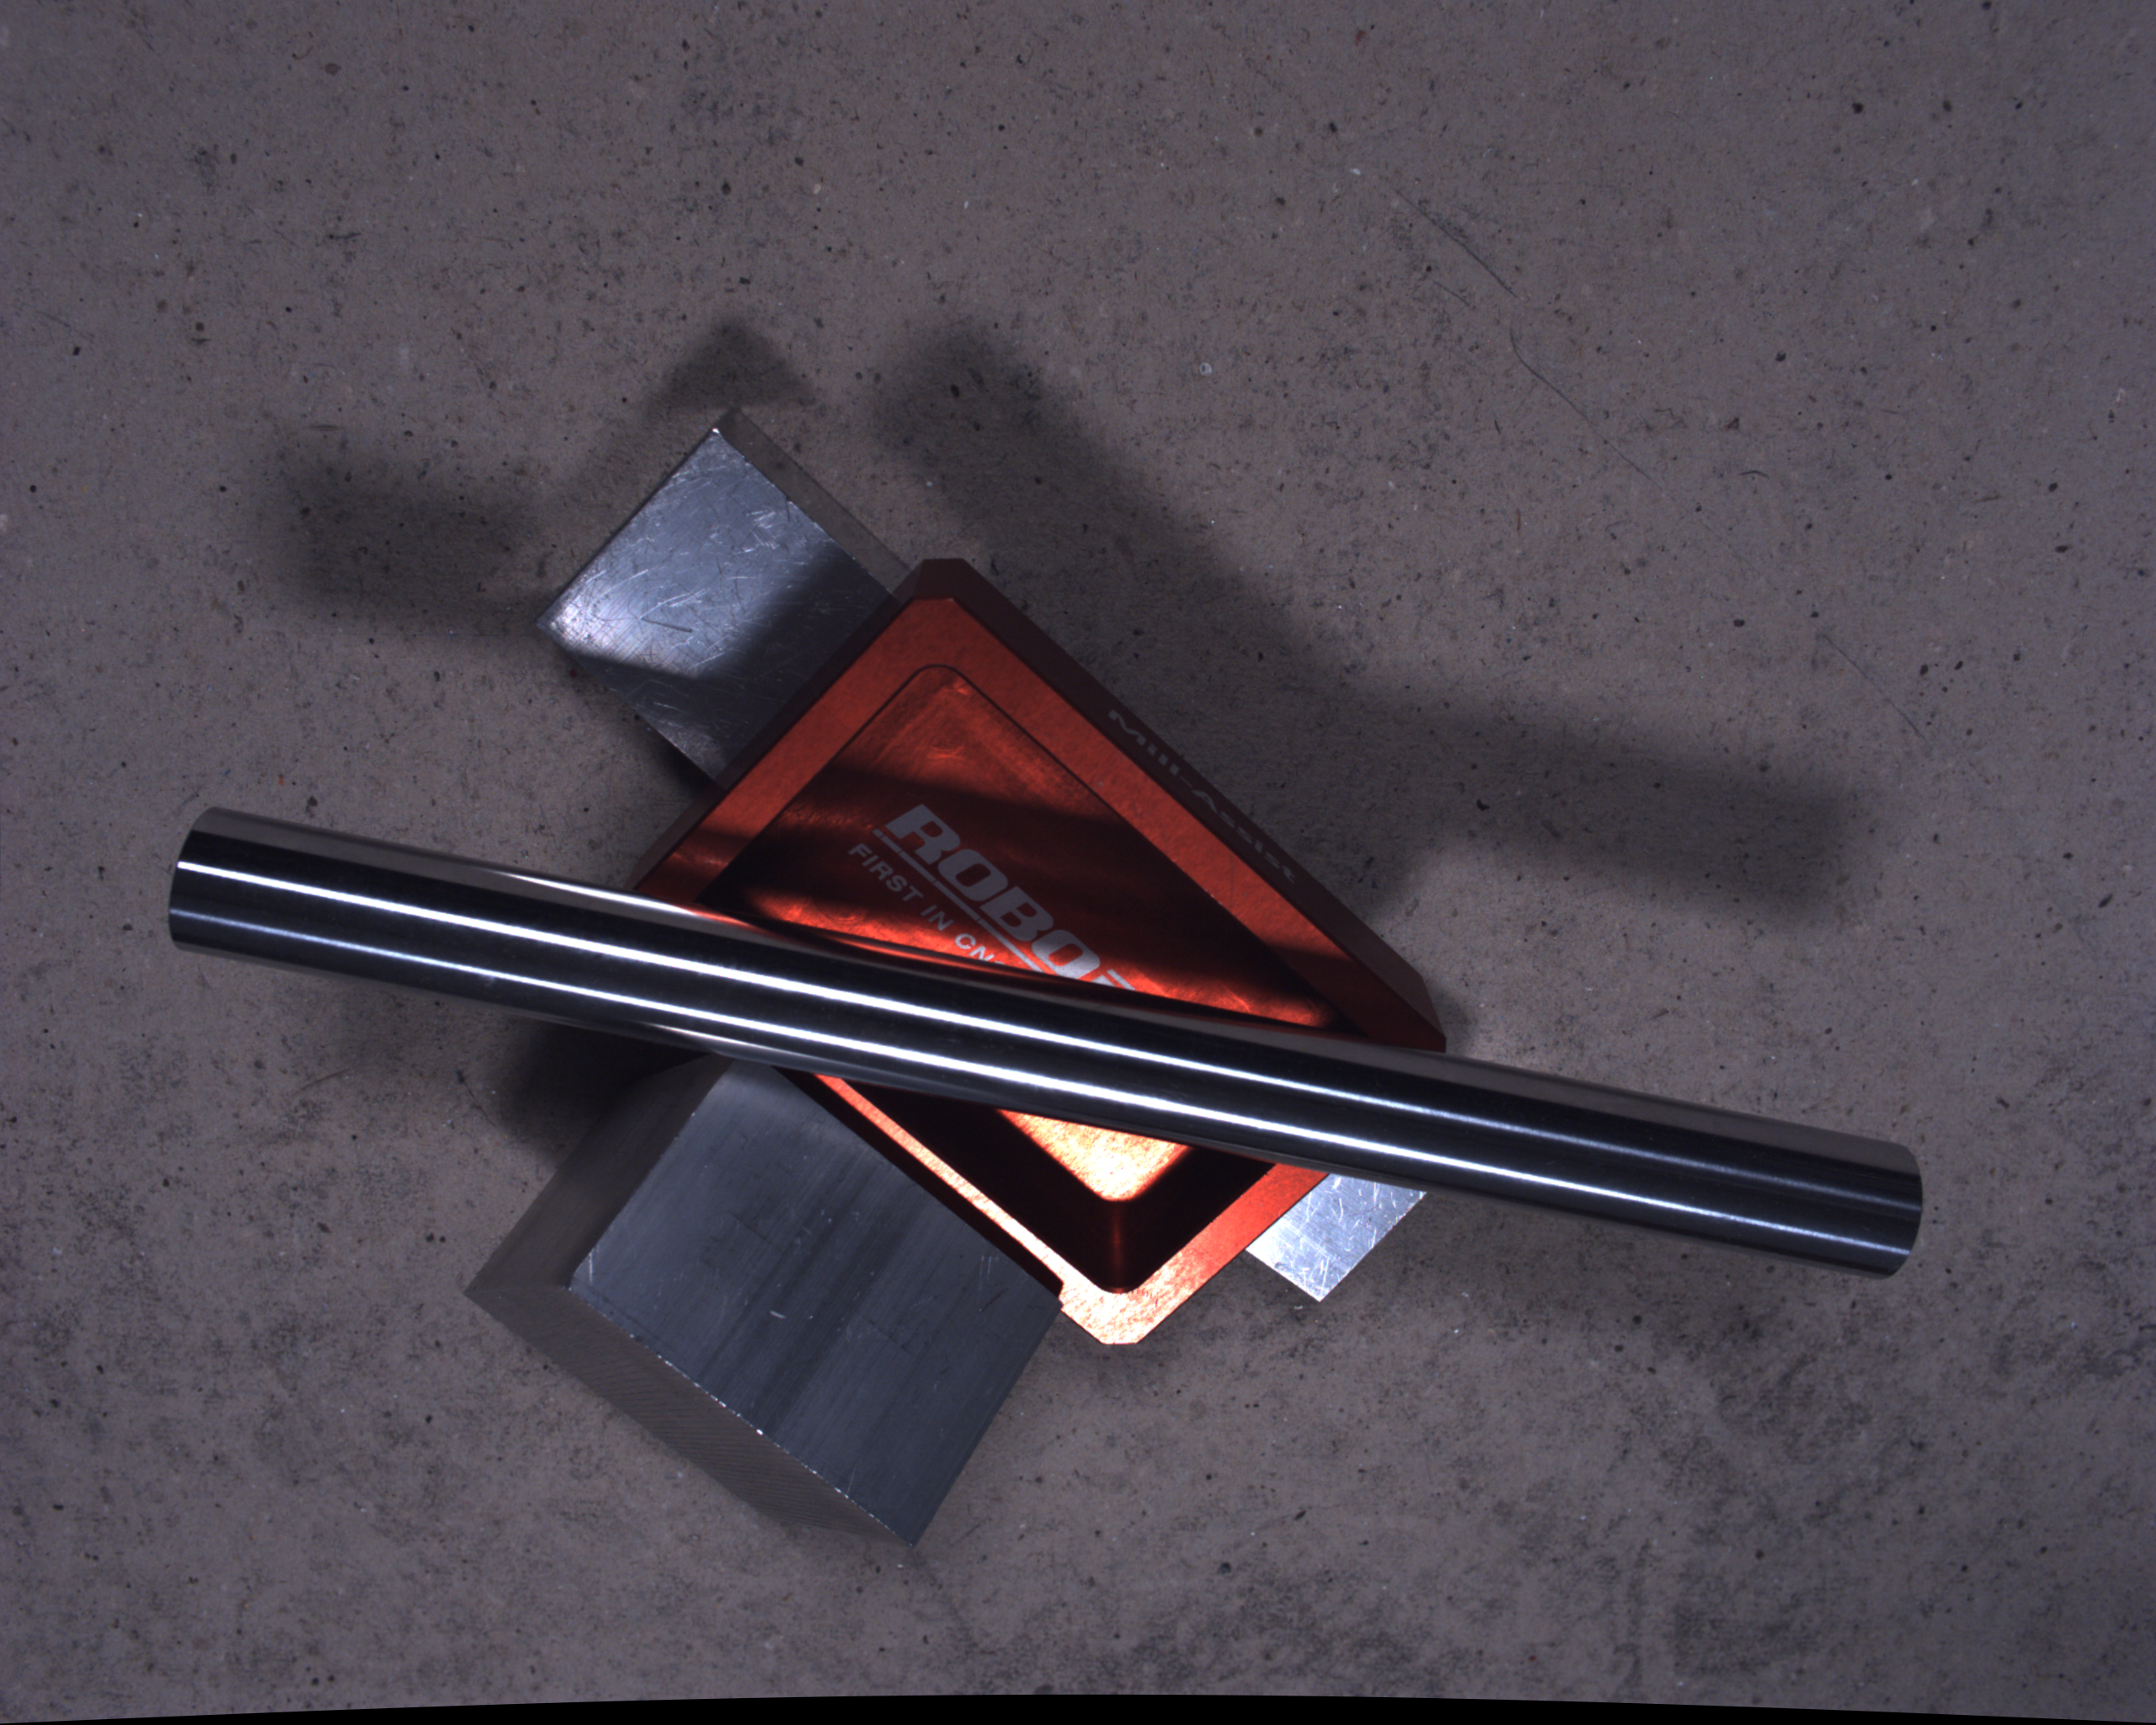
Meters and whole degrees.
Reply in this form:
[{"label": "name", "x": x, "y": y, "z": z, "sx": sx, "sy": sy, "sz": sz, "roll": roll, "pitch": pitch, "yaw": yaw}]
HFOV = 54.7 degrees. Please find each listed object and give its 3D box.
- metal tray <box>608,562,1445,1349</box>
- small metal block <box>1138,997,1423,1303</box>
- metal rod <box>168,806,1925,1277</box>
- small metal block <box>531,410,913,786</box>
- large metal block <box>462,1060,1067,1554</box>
[{"label": "metal tray", "x": -0.008, "y": 0.020, "z": 0.388, "sx": 0.130, "sy": 0.030, "sz": 0.090, "roll": 42, "pitch": 104, "yaw": -14}, {"label": "small metal block", "x": 0.046, "y": 0.054, "z": 0.431, "sx": 0.050, "sy": 0.025, "sz": 0.050, "roll": 37, "pitch": 106, "yaw": -13}, {"label": "metal rod", "x": -0.001, "y": 0.033, "z": 0.364, "sx": 0.302, "sy": 0.025, "sz": 0.025, "roll": 11, "pitch": 110, "yaw": -5}, {"label": "small metal block", "x": -0.064, "y": -0.048, "z": 0.392, "sx": 0.050, "sy": 0.025, "sz": 0.050, "roll": 43, "pitch": 104, "yaw": -15}, {"label": "large metal block", "x": -0.063, "y": 0.086, "z": 0.403, "sx": 0.080, "sy": 0.080, "sz": 0.050, "roll": 41, "pitch": 63, "yaw": -14}]
